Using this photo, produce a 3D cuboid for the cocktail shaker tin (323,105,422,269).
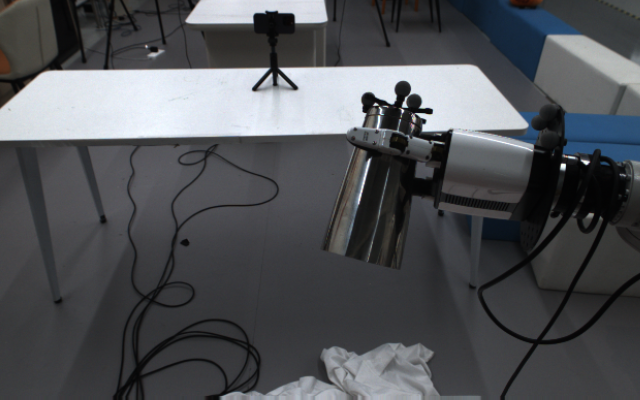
[{"bbox_3d":[0.068,-0.017,0.553,0.093,0.170,0.093,14,-5,1],"label":"cocktail shaker tin"}]
